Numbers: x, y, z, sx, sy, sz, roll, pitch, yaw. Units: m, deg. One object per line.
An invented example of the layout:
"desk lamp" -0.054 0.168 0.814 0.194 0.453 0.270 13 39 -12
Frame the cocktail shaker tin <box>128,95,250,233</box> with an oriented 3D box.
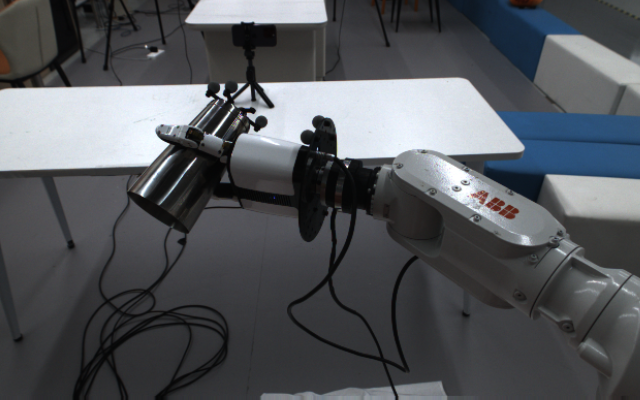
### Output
"cocktail shaker tin" -0.165 -0.055 0.644 0.093 0.093 0.170 20 67 24
